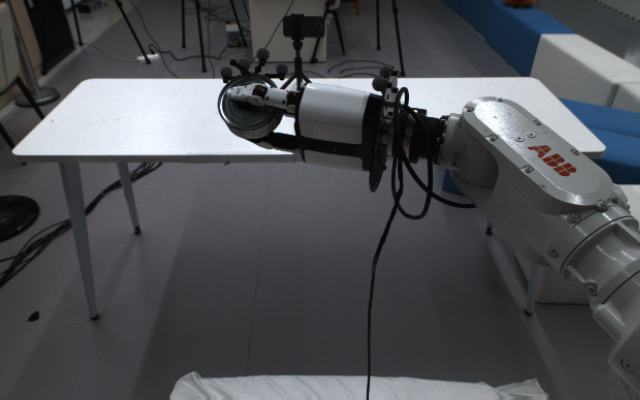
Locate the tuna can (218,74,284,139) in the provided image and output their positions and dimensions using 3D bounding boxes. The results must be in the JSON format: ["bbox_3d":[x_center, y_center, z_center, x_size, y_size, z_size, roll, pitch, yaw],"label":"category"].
[{"bbox_3d":[-0.091,-0.127,0.662,0.085,0.034,0.085,-2,69,6],"label":"tuna can"}]
